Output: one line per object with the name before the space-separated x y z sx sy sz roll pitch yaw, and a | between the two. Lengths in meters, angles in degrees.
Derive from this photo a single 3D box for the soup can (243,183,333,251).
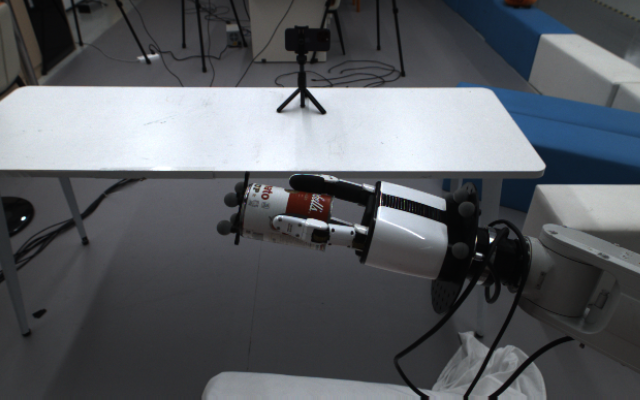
soup can | -0.036 0.020 0.578 0.101 0.067 0.067 10 35 0
